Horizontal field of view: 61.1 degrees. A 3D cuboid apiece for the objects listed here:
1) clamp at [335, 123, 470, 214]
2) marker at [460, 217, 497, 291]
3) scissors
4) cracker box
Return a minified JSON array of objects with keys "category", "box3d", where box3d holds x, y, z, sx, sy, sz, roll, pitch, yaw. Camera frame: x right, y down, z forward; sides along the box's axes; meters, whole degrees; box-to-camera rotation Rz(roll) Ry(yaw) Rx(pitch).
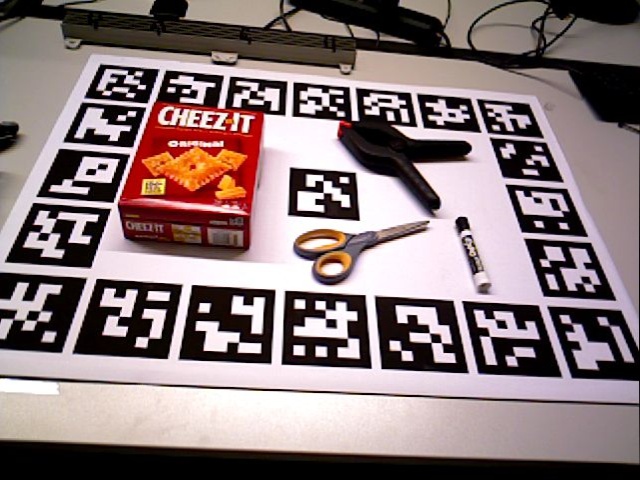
[{"category":"clamp","box3d":[0.114,-0.131,0.845,0.203,0.037,0.161,27,50,15]},{"category":"marker","box3d":[0.209,0.015,0.723,0.019,0.020,0.119,1,49,-7]},{"category":"scissors","box3d":[0.068,0.002,0.717,0.199,0.016,0.087,-18,53,-25]},{"category":"cracker box","box3d":[-0.160,-0.090,0.733,0.163,0.074,0.210,4,49,-4]}]
